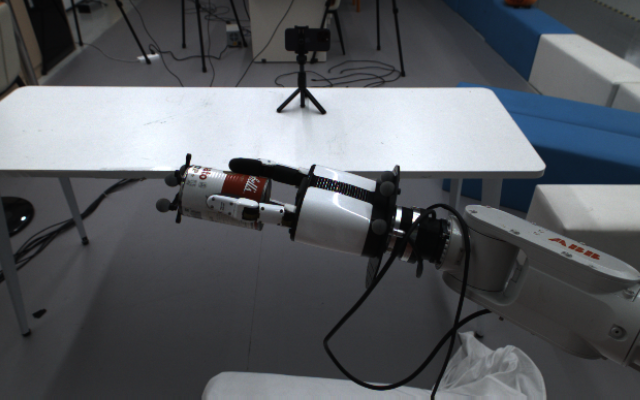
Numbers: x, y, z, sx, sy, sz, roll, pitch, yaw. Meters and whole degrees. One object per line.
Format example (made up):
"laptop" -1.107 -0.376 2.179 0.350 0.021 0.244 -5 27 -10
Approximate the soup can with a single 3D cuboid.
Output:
"soup can" -0.116 -0.002 0.611 0.101 0.067 0.067 11 35 0
